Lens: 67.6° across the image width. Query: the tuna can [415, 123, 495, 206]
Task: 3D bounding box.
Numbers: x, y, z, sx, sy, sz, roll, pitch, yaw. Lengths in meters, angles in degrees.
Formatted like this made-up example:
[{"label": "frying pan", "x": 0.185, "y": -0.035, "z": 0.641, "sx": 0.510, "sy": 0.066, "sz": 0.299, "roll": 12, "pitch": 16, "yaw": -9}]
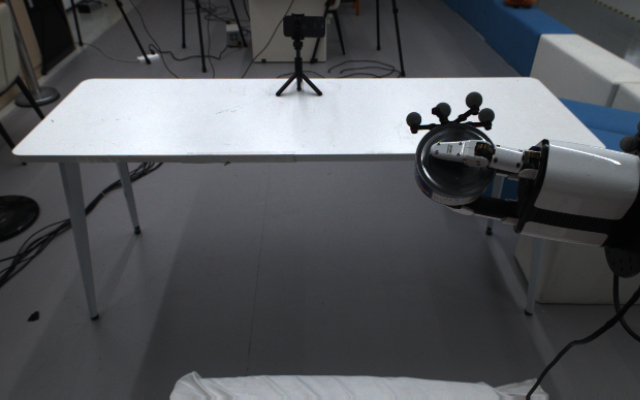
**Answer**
[{"label": "tuna can", "x": 0.147, "y": -0.040, "z": 0.528, "sx": 0.085, "sy": 0.034, "sz": 0.085, "roll": -2, "pitch": 68, "yaw": 6}]
